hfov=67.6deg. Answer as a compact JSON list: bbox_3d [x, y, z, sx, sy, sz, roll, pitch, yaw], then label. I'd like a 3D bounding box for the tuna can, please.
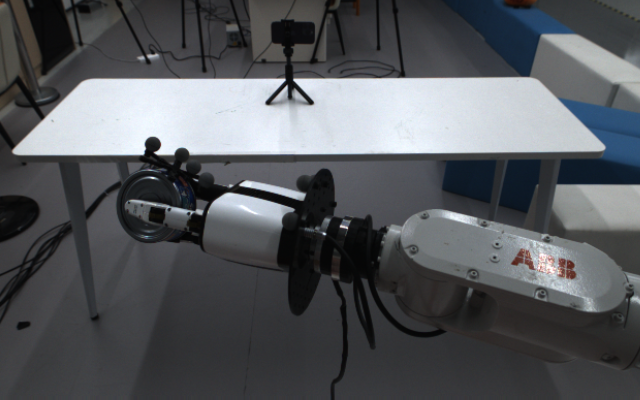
[{"bbox_3d":[-0.185,0.013,0.554,0.085,0.085,0.034,12,4,14],"label":"tuna can"}]
